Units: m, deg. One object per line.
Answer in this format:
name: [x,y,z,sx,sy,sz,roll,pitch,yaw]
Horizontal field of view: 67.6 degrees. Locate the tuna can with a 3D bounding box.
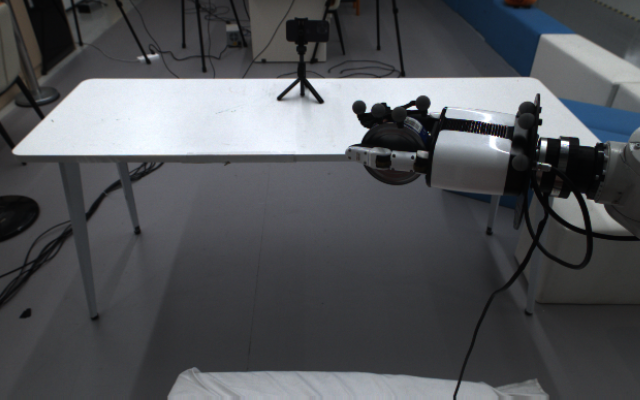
tuna can: [0.098,-0.065,0.615,0.085,0.085,0.034,15,34,17]
